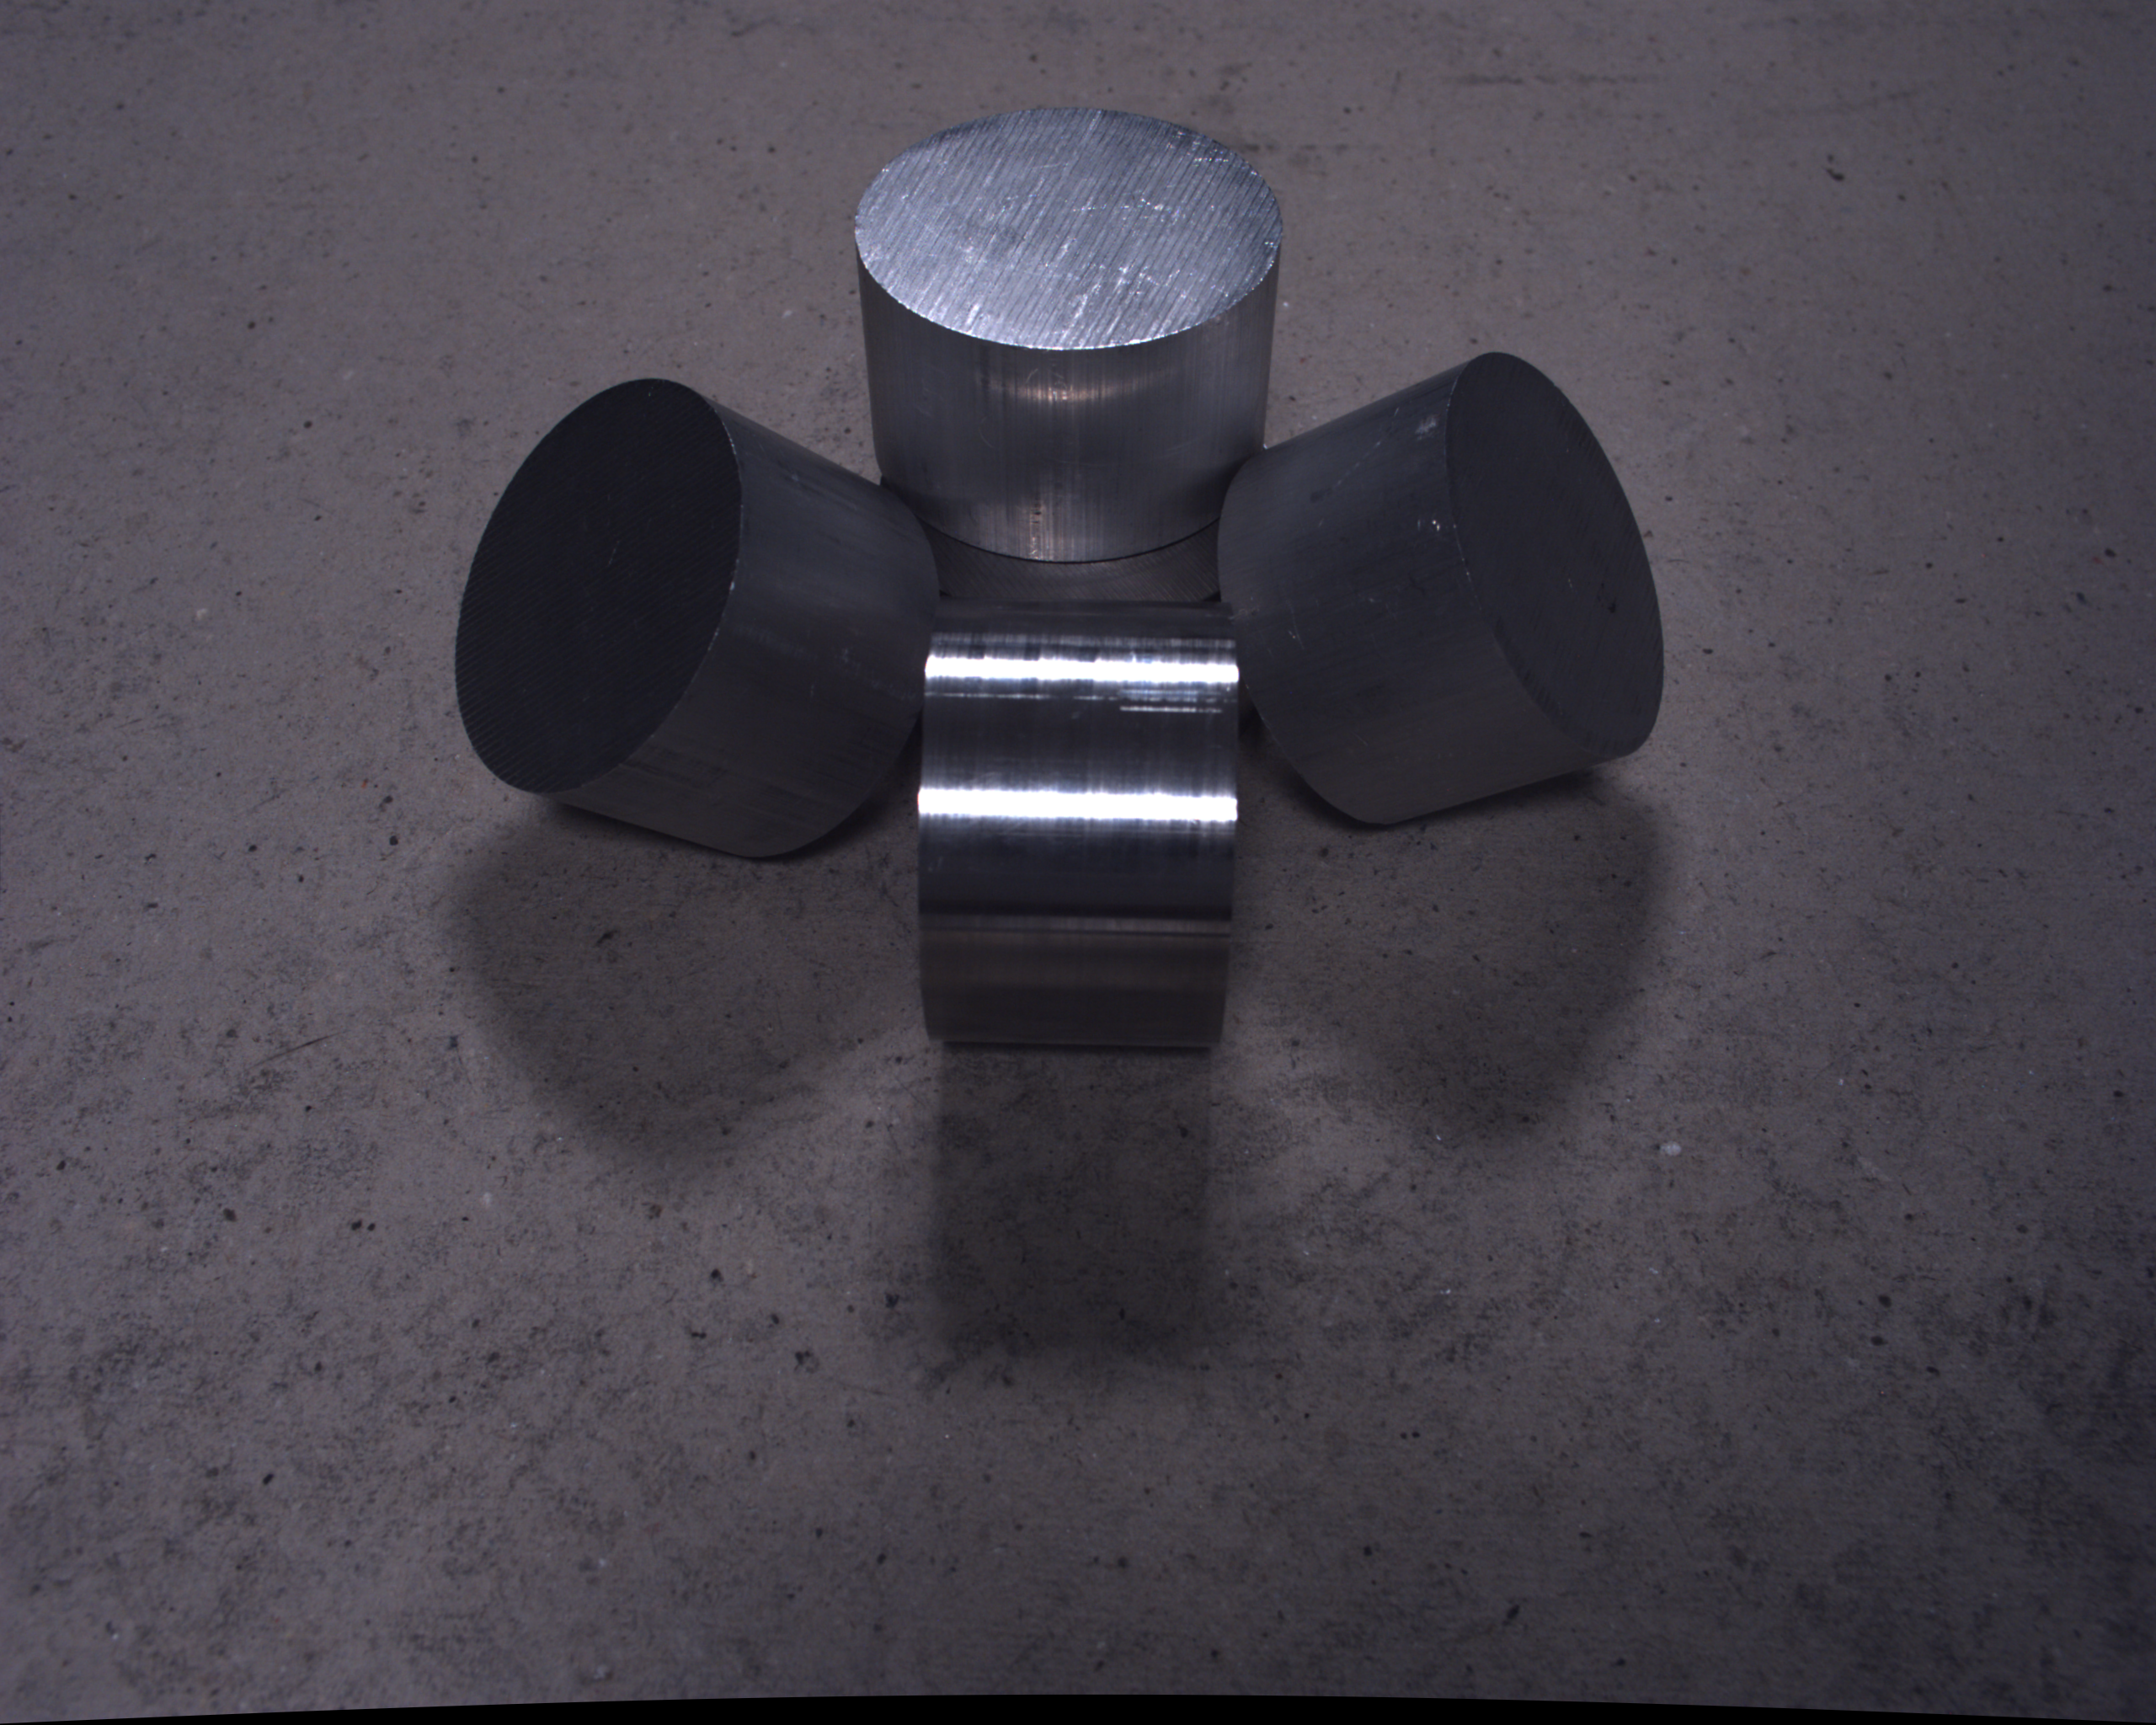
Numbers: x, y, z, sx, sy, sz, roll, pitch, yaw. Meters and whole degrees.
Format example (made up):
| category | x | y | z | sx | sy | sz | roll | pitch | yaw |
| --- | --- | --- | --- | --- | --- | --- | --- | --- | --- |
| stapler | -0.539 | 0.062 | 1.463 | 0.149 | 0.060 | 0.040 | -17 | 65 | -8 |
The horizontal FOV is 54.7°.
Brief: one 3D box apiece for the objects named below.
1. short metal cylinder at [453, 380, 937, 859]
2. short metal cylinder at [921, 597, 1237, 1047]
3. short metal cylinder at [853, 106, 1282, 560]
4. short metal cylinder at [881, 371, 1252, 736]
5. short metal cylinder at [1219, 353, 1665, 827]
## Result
| category | x | y | z | sx | sy | sz | roll | pitch | yaw |
| --- | --- | --- | --- | --- | --- | --- | --- | --- | --- |
| short metal cylinder | -0.074 | -0.045 | 0.399 | 0.080 | 0.050 | 0.080 | -13 | 68 | 36 |
| short metal cylinder | 0.001 | -0.007 | 0.374 | 0.050 | 0.080 | 0.080 | 1 | 50 | 1 |
| short metal cylinder | -0.002 | -0.105 | 0.411 | 0.081 | 0.050 | 0.080 | 0 | 50 | 0 |
| short metal cylinder | 0.000 | -0.059 | 0.438 | 0.081 | 0.050 | 0.080 | 0 | 50 | 0 |
| short metal cylinder | 0.072 | -0.052 | 0.406 | 0.050 | 0.080 | 0.080 | -18 | 39 | 37 |
